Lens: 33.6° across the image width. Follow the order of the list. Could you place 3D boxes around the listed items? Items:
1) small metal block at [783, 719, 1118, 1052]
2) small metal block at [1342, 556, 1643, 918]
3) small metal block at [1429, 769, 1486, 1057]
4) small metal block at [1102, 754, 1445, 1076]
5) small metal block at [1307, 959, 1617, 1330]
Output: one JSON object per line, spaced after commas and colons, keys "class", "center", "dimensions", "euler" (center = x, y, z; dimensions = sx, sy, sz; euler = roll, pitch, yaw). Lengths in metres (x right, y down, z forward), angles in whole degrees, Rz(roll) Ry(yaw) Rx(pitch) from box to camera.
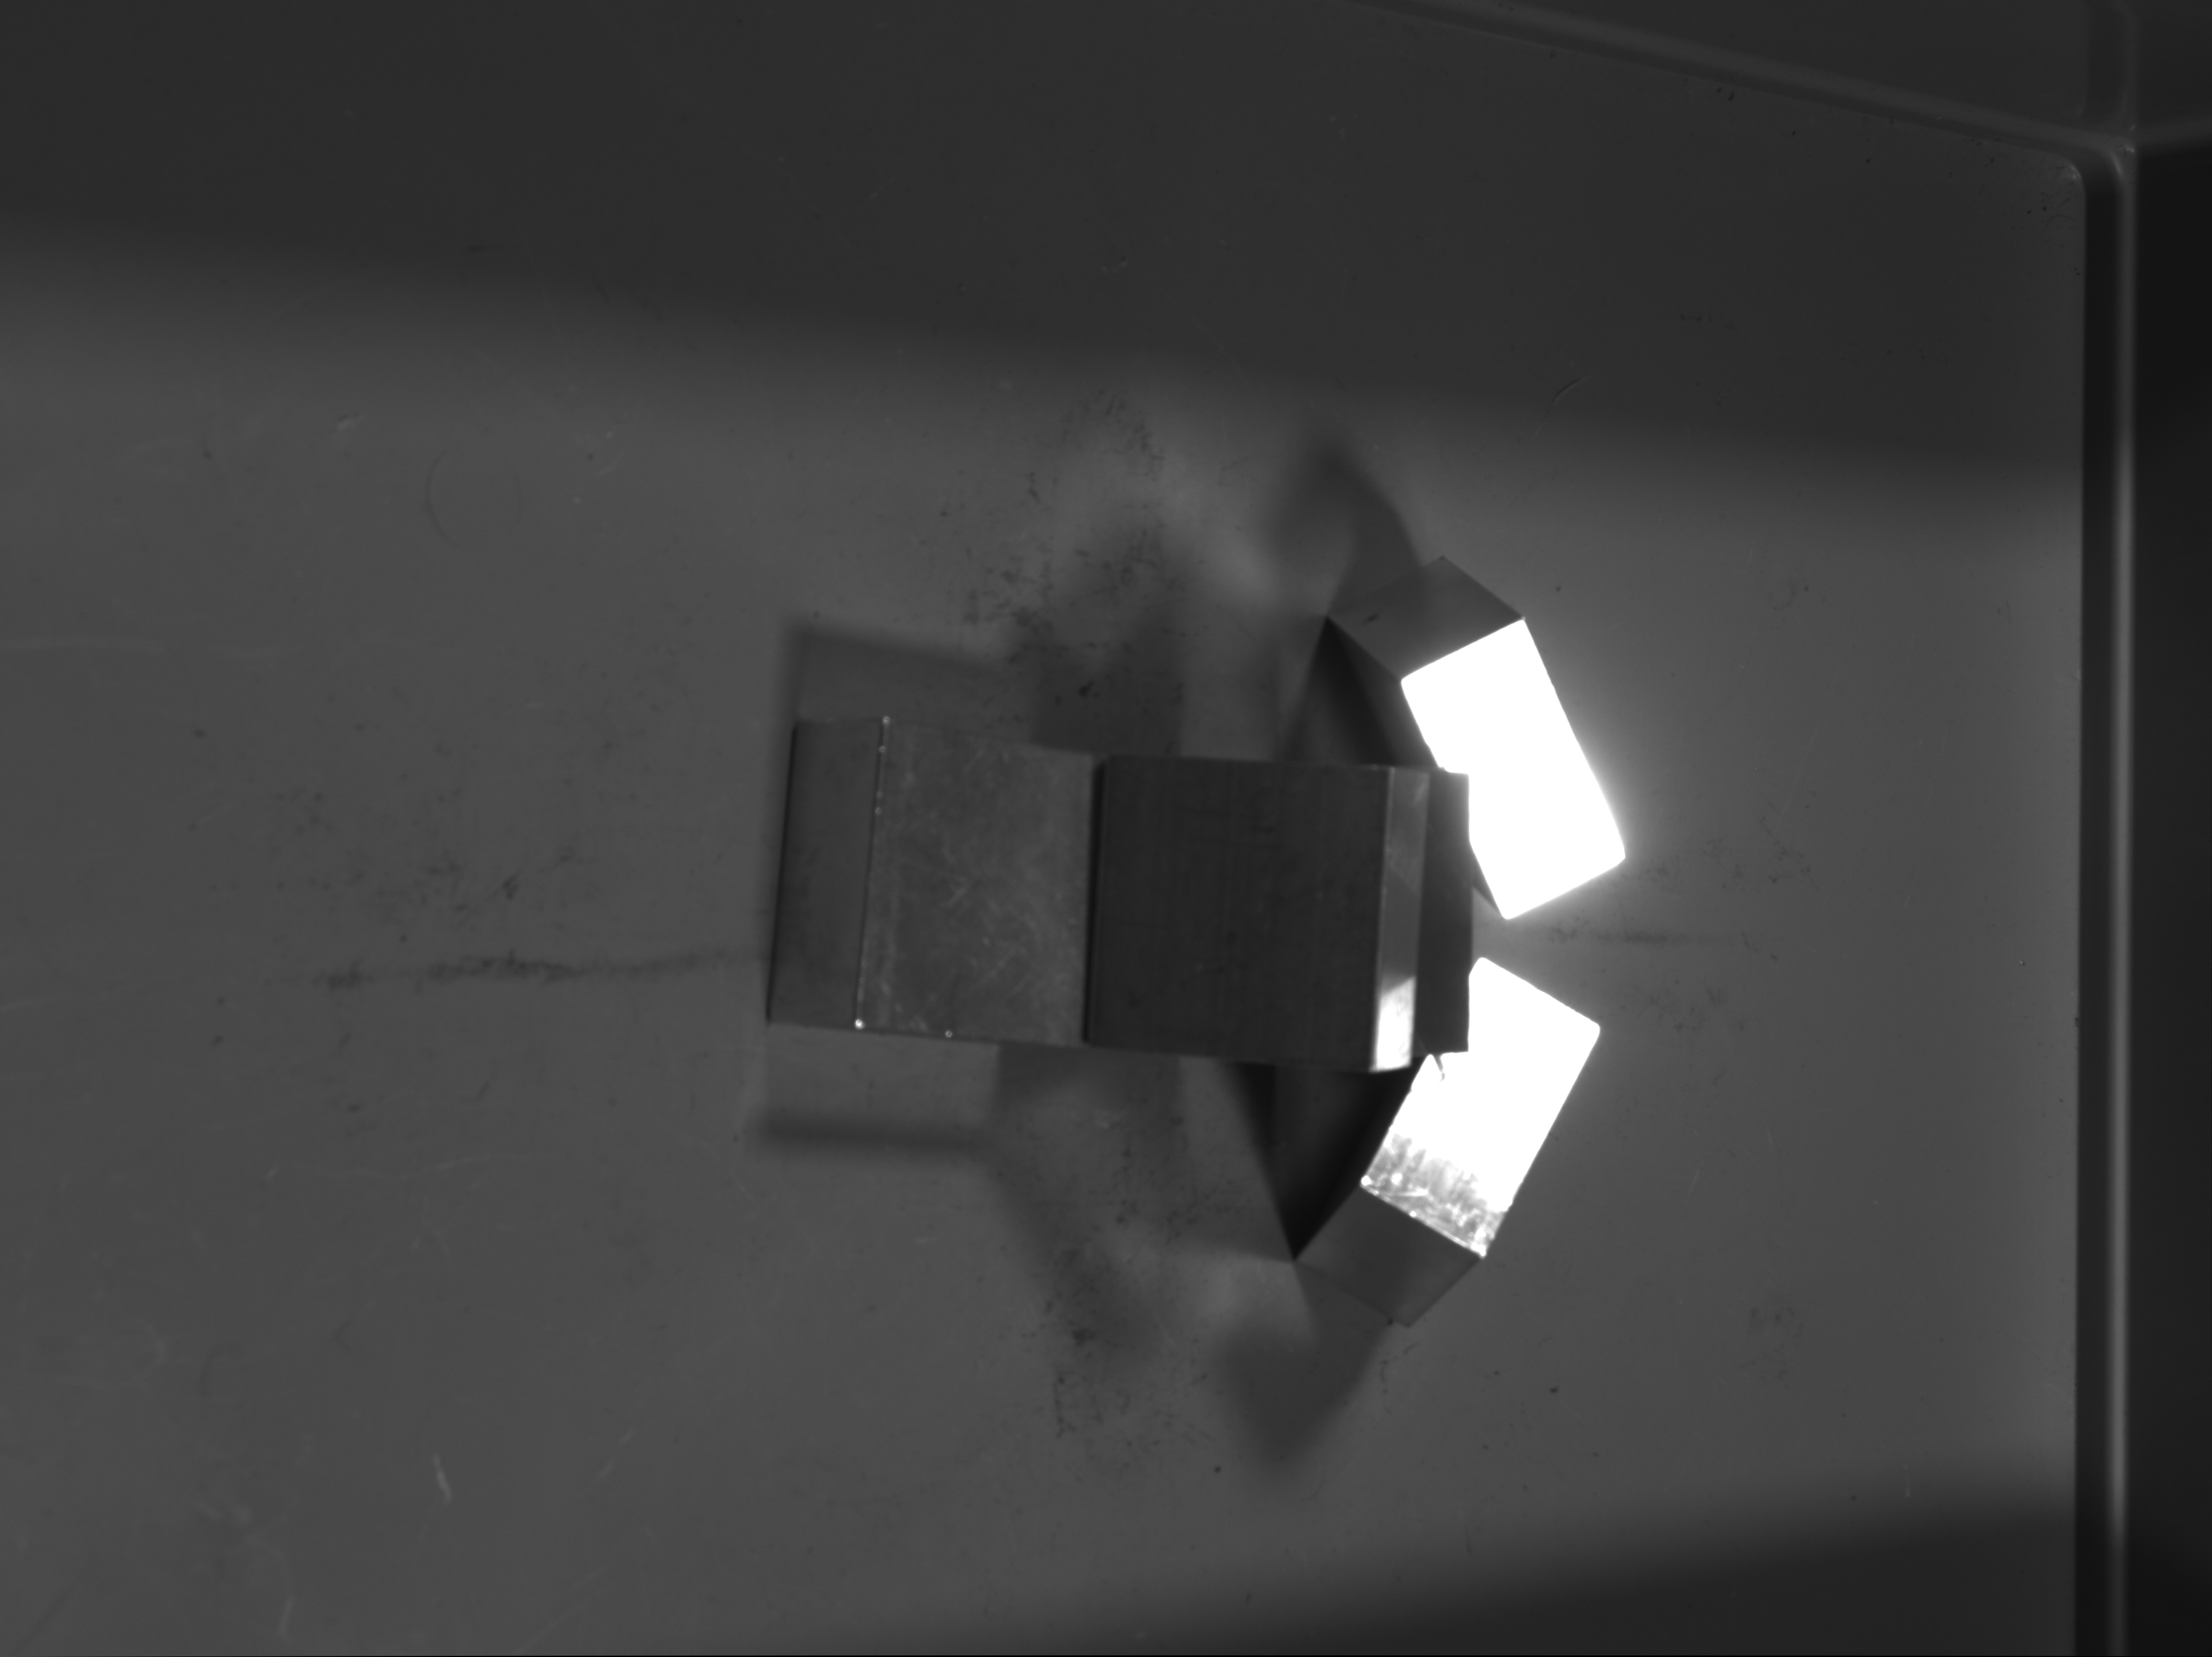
{"class": "small metal block", "center": [-0.024, 0.010, 0.614], "dimensions": [0.050, 0.025, 0.050], "euler": [9, 84, -39]}
{"class": "small metal block", "center": [0.071, -0.018, 0.675], "dimensions": [0.025, 0.050, 0.050], "euler": [-27, 110, -3]}
{"class": "small metal block", "center": [0.041, 0.015, 0.654], "dimensions": [0.025, 0.050, 0.050], "euler": [1, 89, -40]}
{"class": "small metal block", "center": [0.029, 0.014, 0.620], "dimensions": [0.025, 0.050, 0.050], "euler": [3, 91, -71]}
{"class": "small metal block", "center": [0.065, 0.058, 0.670], "dimensions": [0.025, 0.050, 0.050], "euler": [30, 66, 2]}
